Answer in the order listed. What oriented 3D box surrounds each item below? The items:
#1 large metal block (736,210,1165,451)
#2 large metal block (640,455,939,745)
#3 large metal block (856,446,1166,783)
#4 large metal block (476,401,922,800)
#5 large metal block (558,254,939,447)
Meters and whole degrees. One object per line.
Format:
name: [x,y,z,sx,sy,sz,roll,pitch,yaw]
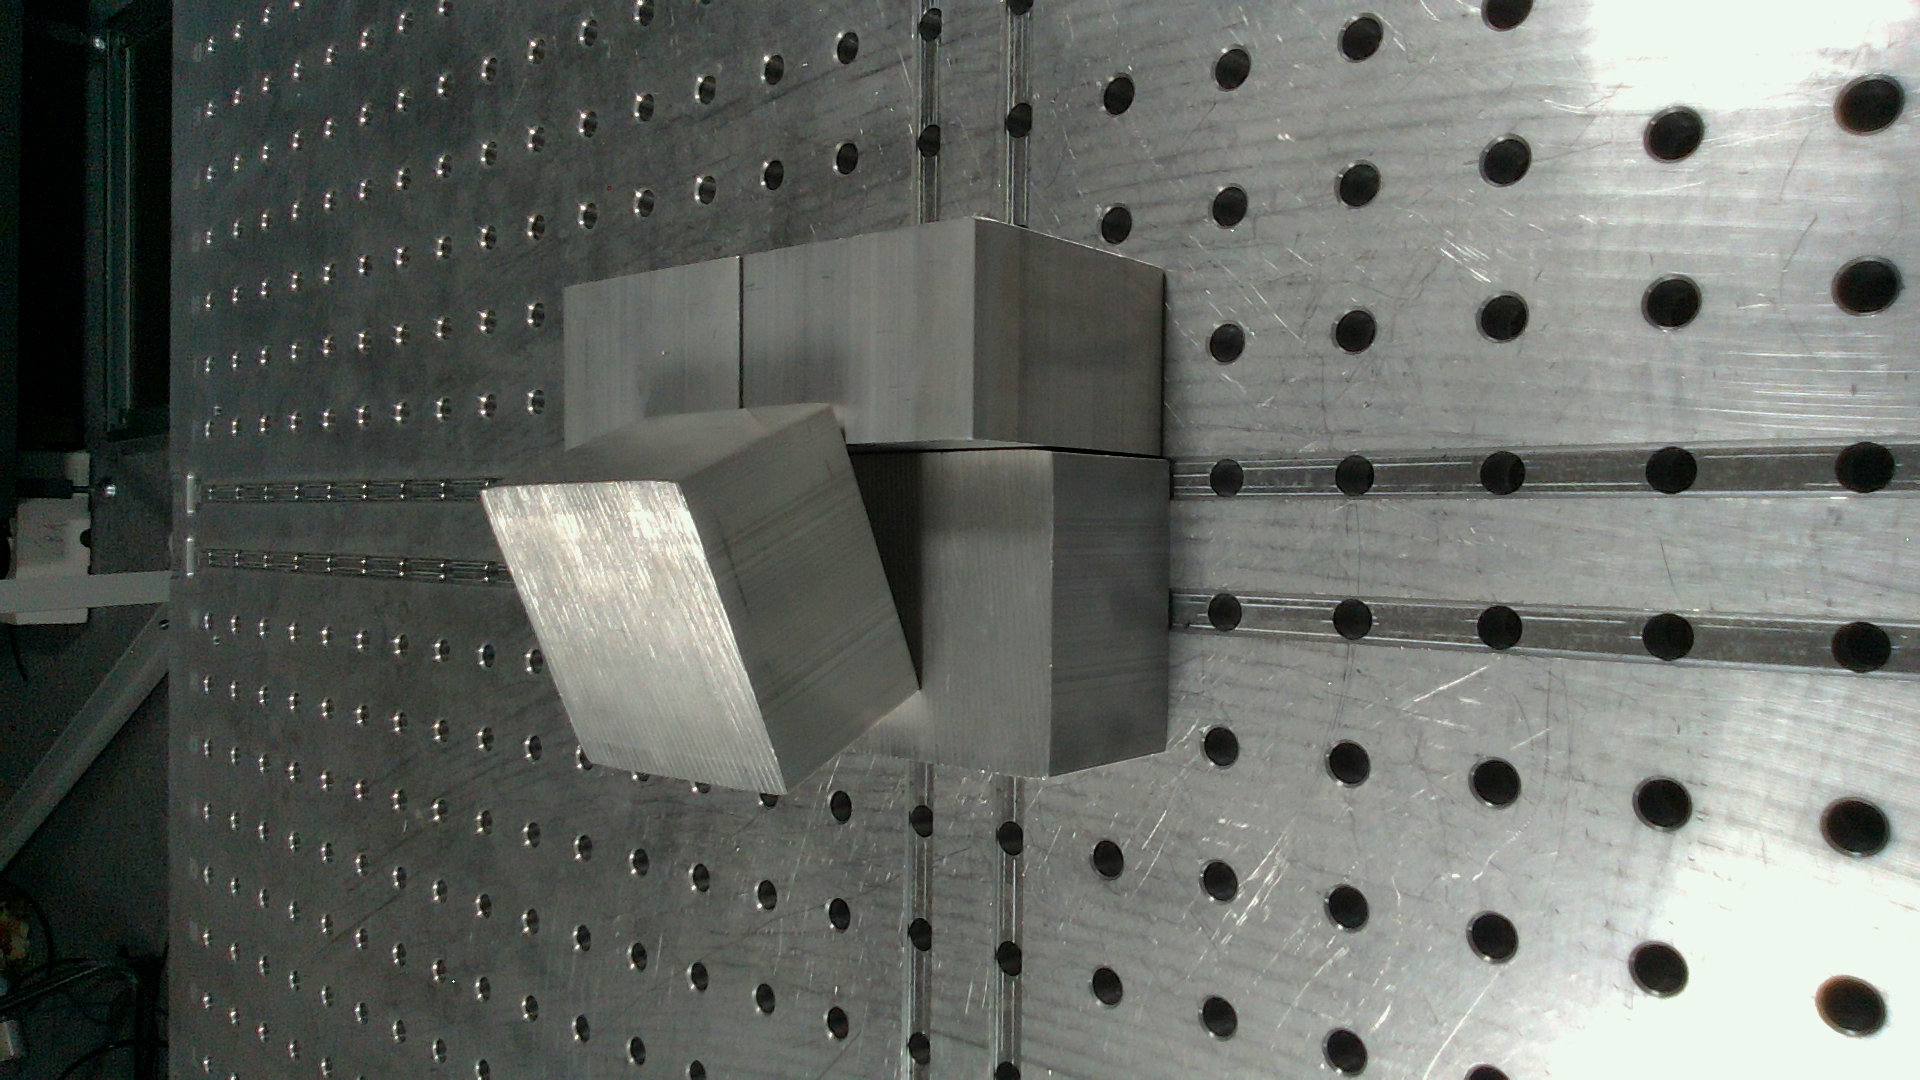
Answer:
large metal block: [-0.002,-0.049,0.362,0.080,0.080,0.050,1,91,40]
large metal block: [-0.053,0.016,0.424,0.080,0.050,0.080,1,91,40]
large metal block: [0.008,0.017,0.372,0.080,0.050,0.080,1,91,40]
large metal block: [-0.066,0.014,0.349,0.080,0.050,0.080,0,114,40]
large metal block: [-0.063,-0.050,0.413,0.080,0.080,0.050,1,91,40]
